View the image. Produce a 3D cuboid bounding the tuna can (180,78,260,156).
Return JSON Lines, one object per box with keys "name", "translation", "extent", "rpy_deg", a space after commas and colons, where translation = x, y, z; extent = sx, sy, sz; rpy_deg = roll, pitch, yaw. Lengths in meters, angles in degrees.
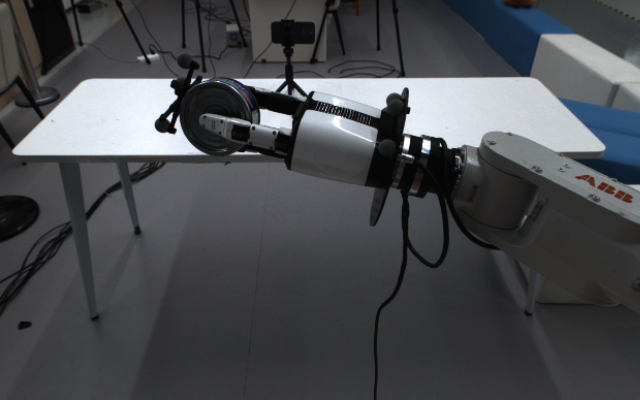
{"name": "tuna can", "translation": [-0.111, -0.095, 0.548], "extent": [0.085, 0.085, 0.034], "rpy_deg": [6, 20, 5]}
